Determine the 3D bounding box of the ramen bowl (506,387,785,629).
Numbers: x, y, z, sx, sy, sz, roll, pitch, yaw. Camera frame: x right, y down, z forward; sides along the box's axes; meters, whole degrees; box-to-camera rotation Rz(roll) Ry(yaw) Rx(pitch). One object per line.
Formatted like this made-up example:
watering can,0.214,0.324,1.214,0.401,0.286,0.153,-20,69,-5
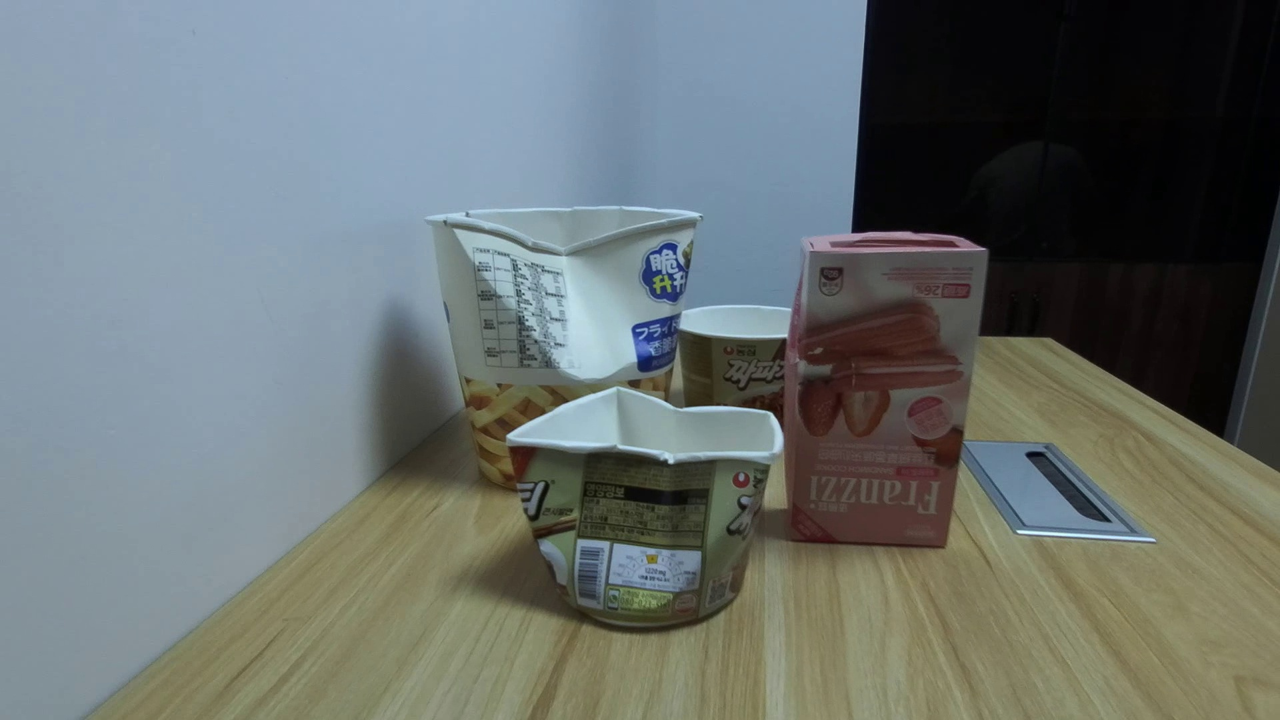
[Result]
ramen bowl,0.011,0.078,0.390,0.128,0.093,0.112,9,18,29

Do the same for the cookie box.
cookie box,0.138,0.019,0.426,0.105,0.187,0.049,1,17,5

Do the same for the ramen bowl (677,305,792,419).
ramen bowl,0.101,0.008,0.650,0.140,0.095,0.140,-1,15,1

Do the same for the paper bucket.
paper bucket,-0.064,-0.013,0.541,0.163,0.202,0.168,-15,18,-38
